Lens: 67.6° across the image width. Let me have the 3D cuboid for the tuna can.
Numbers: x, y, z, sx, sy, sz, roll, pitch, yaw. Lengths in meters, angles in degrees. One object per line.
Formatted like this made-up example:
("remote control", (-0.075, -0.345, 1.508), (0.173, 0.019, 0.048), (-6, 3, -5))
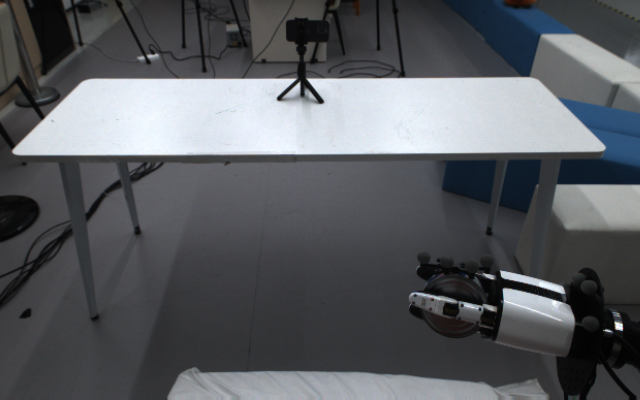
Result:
("tuna can", (0.178, 0.134, 0.637), (0.085, 0.085, 0.034), (13, 7, 15))
